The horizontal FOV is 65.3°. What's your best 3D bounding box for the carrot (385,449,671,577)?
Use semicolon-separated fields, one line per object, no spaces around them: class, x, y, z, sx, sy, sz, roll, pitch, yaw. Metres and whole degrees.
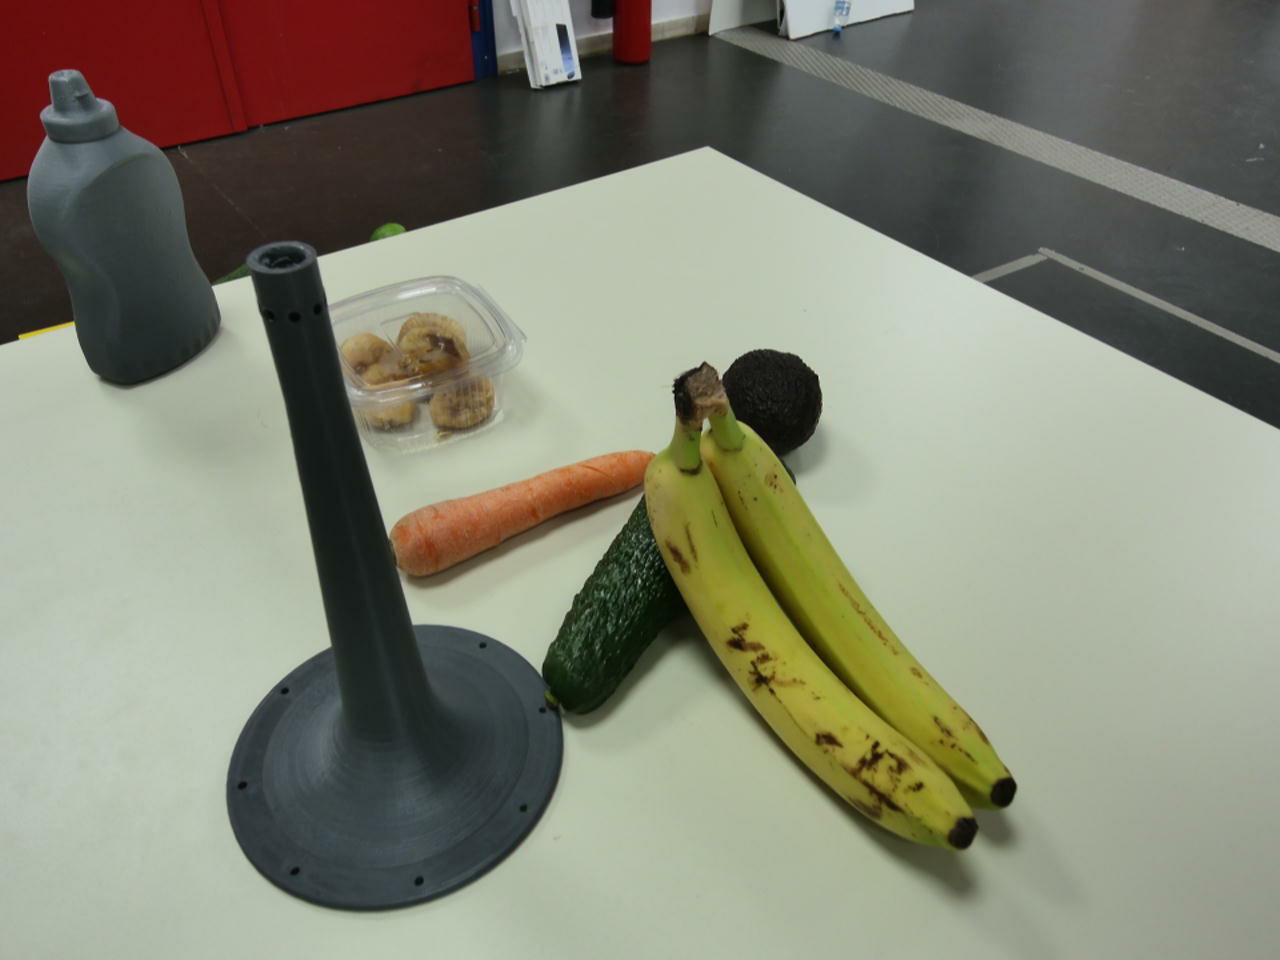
carrot;-0.061;0.009;0.607;0.196;0.041;0.039;-24;45;-28
